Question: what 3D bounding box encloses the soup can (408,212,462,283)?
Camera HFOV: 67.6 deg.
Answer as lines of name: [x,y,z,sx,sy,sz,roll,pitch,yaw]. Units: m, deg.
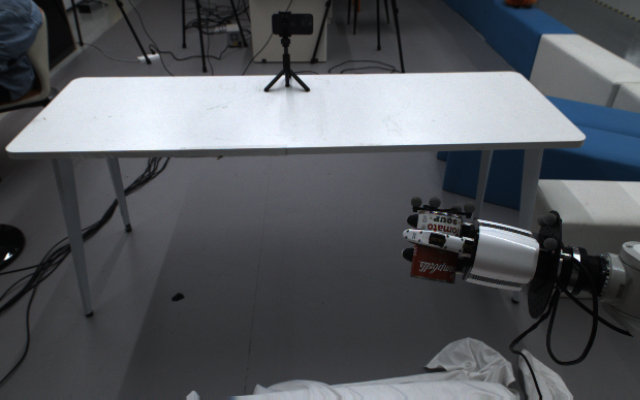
soup can: [0.178,0.071,0.736,0.067,0.101,0.067,9,-6,1]
